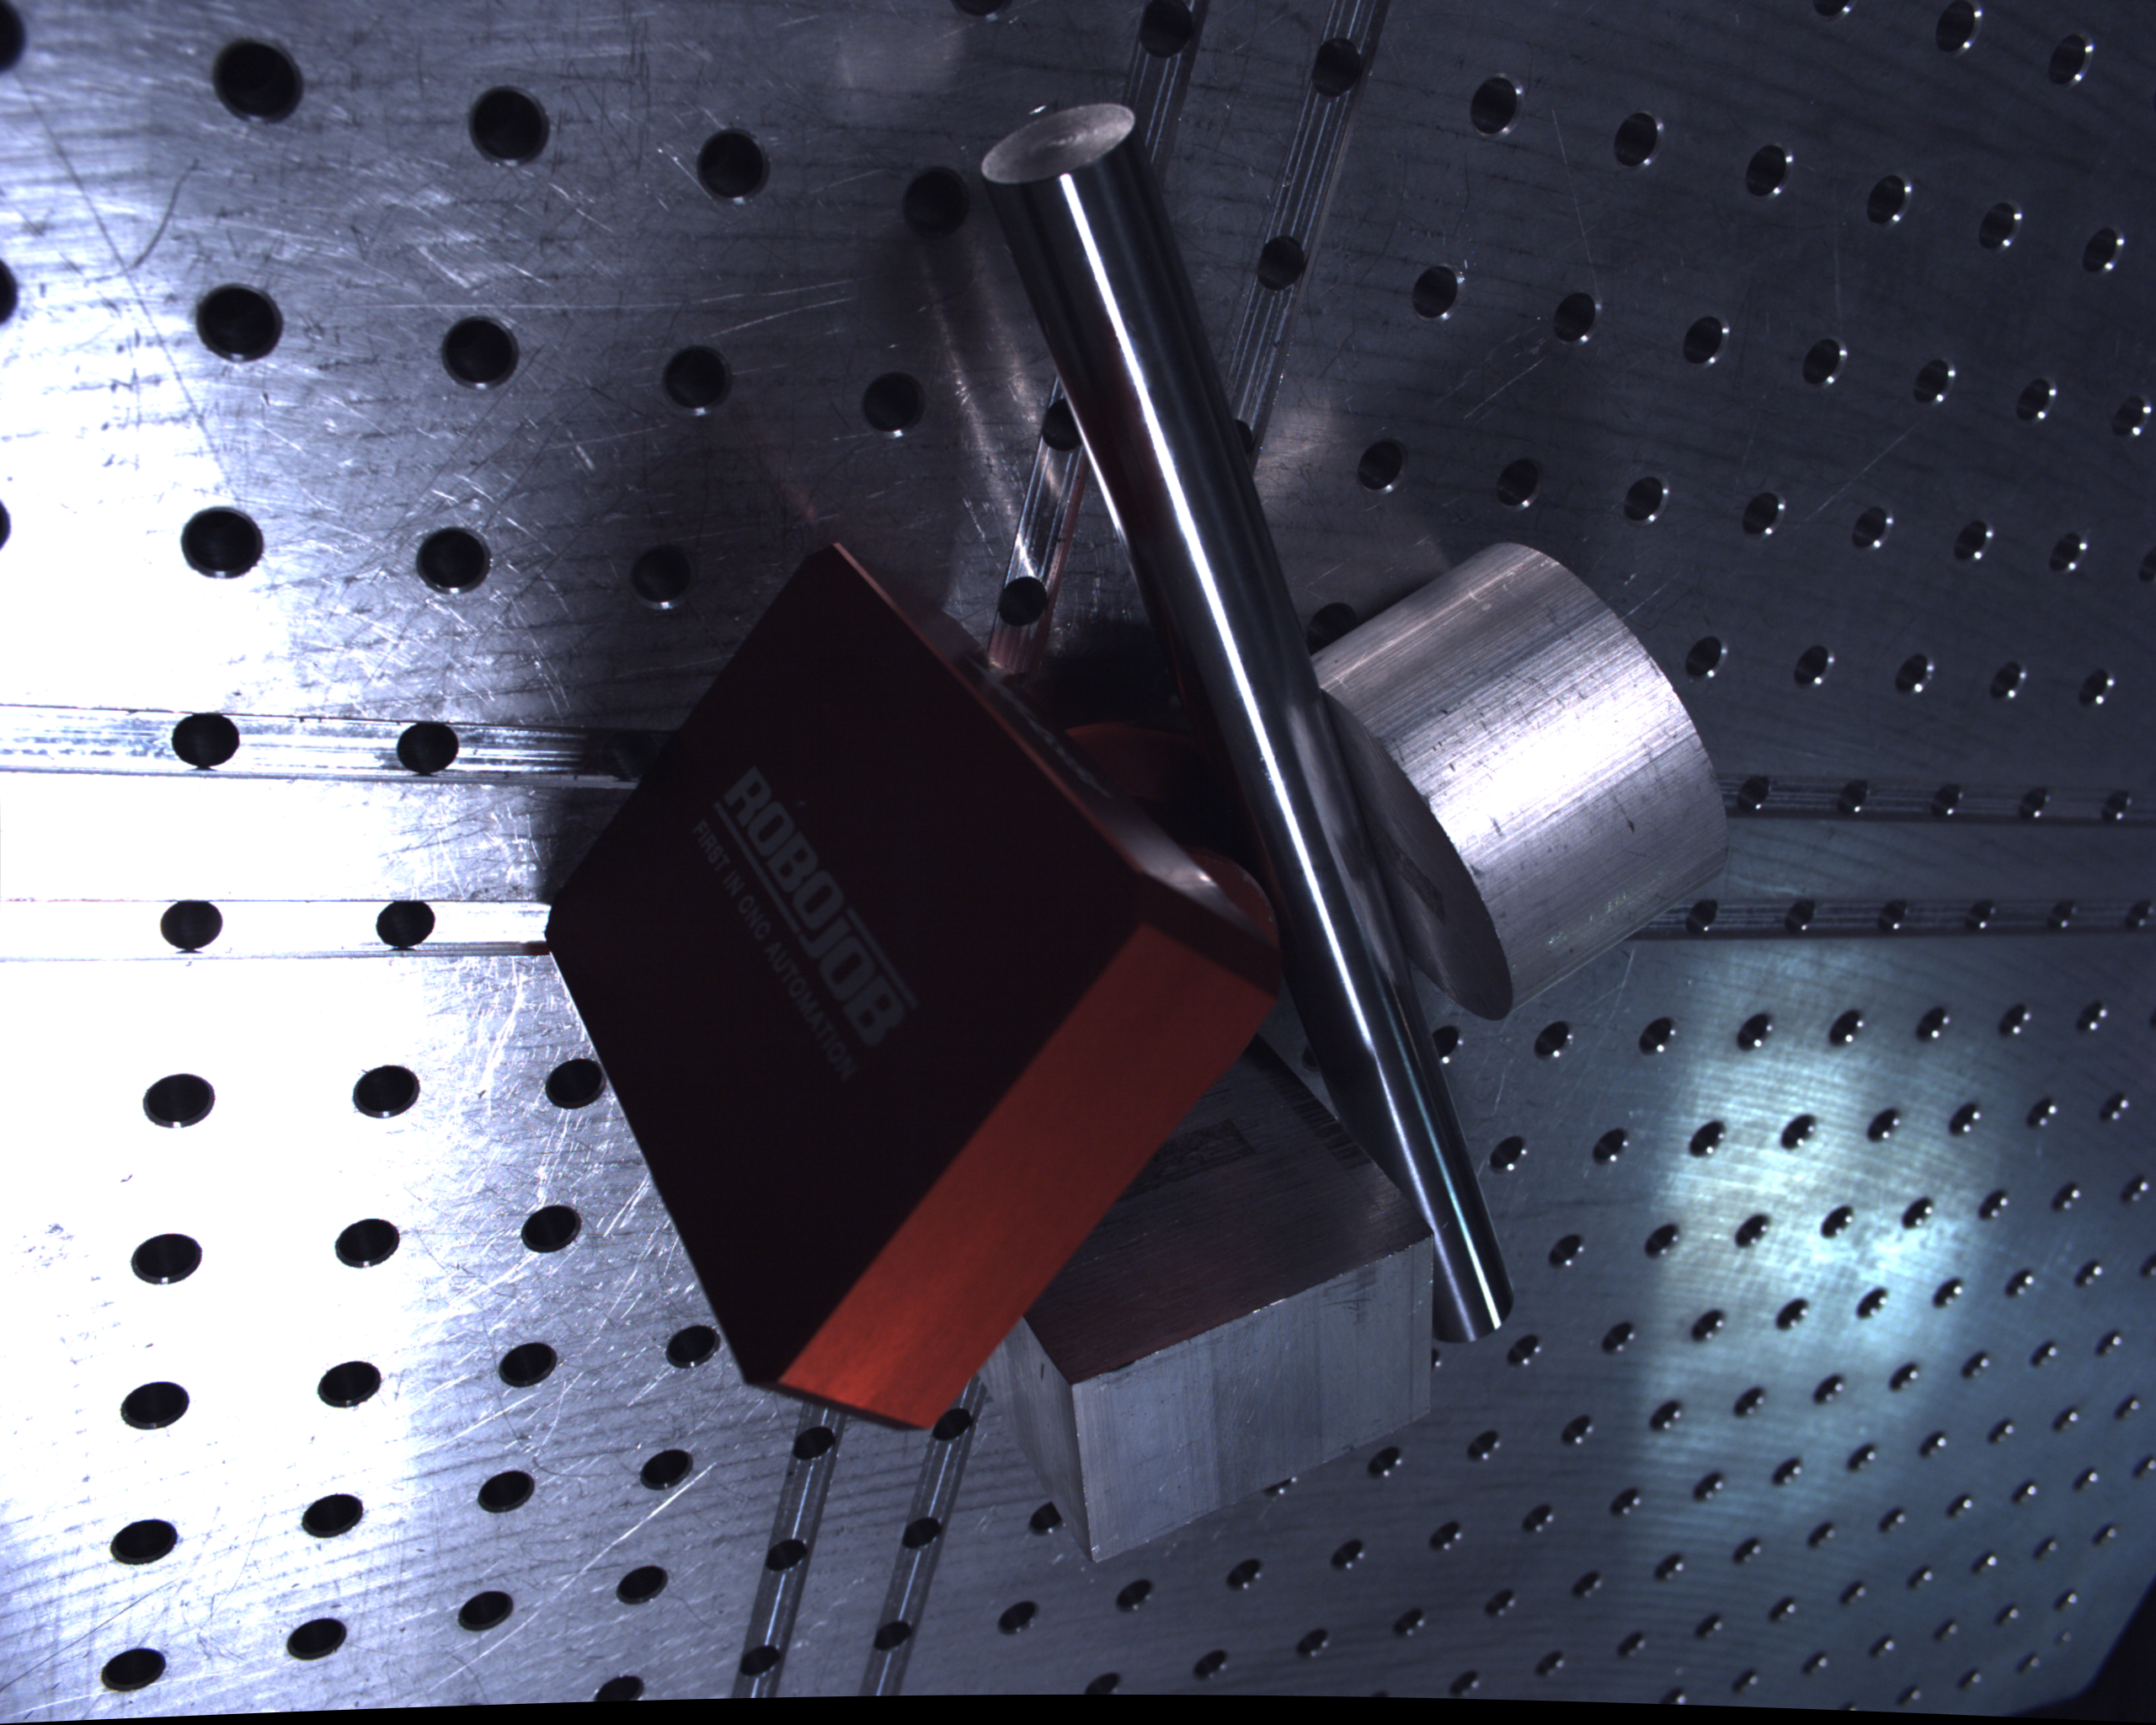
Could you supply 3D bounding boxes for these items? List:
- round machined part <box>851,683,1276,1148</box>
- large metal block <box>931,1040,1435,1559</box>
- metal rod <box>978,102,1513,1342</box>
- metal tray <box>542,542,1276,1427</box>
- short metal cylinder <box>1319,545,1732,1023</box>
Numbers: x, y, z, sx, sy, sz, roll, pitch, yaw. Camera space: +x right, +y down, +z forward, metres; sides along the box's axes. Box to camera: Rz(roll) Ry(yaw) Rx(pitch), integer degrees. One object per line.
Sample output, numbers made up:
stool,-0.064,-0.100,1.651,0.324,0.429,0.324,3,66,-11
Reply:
round machined part,-0.001,0.017,0.412,0.099,0.042,0.097,-14,125,-21
large metal block,0.019,0.086,0.441,0.081,0.080,0.050,-18,126,-19
metal rod,0.044,-0.002,0.408,0.025,0.025,0.299,-31,129,-9
metal tray,-0.035,0.013,0.334,0.030,0.130,0.090,31,101,-38
short metal cylinder,0.082,-0.015,0.411,0.050,0.080,0.080,-32,129,-8
